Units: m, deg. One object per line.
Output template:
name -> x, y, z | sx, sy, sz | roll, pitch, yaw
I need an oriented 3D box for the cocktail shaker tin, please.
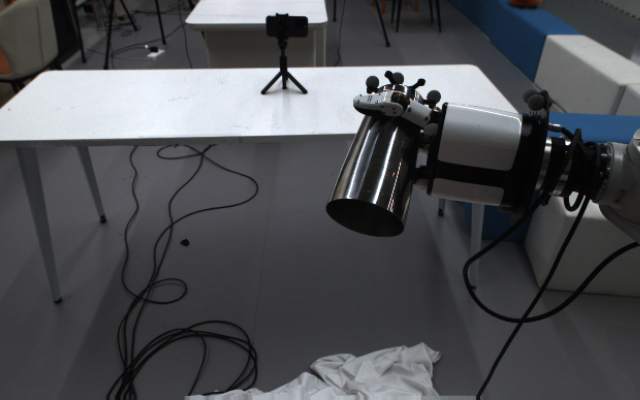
cocktail shaker tin -> 0.077, -0.055, 0.577 | 0.093, 0.093, 0.170 | 13, 65, 15
